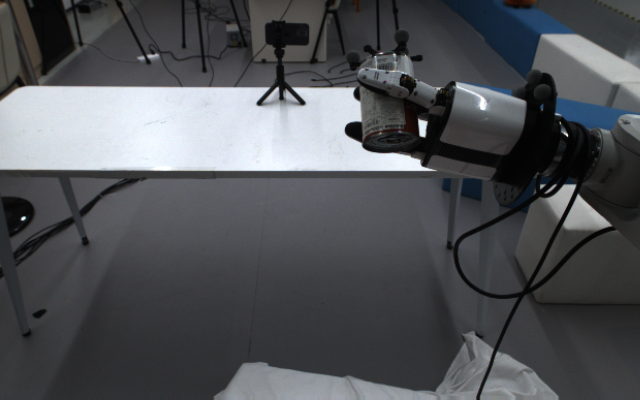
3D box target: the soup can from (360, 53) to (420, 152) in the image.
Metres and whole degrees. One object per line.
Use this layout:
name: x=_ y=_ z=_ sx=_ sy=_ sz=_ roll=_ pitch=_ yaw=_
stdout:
soup can: x=0.081 y=-0.117 z=0.579 sx=0.067 sy=0.067 sz=0.101 roll=-1 pitch=77 yaw=-4
